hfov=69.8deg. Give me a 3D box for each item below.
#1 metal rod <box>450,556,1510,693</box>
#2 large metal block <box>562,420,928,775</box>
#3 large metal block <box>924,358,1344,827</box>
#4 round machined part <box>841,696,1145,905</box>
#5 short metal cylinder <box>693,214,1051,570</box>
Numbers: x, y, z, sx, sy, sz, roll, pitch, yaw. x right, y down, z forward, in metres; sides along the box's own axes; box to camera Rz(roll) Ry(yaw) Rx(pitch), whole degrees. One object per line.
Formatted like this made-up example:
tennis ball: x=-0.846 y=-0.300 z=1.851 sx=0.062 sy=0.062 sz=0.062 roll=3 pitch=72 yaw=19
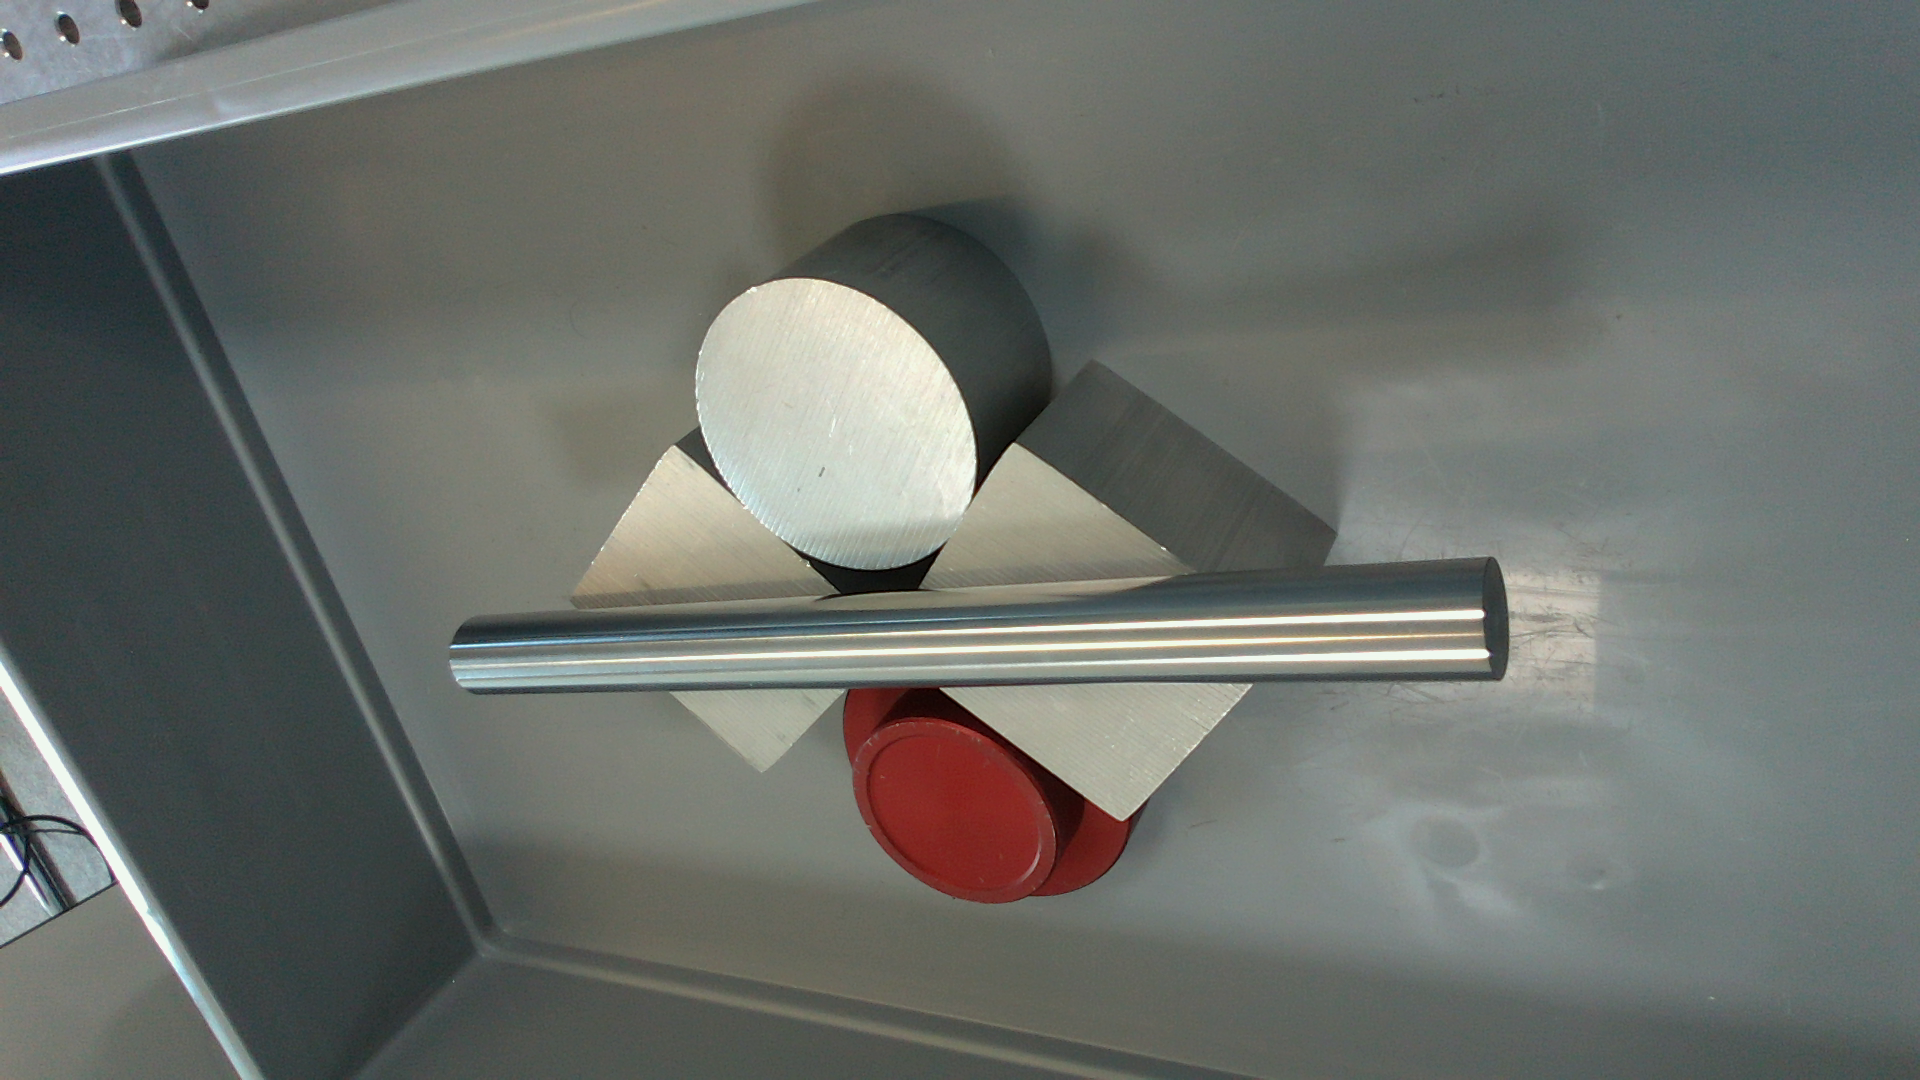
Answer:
metal rod: x=-0.020 y=0.026 z=0.351 sx=0.299 sy=0.025 sz=0.025 roll=-5 pitch=116 yaw=31
large metal block: x=-0.060 y=0.011 z=0.413 sx=0.080 sy=0.050 sz=0.080 roll=42 pitch=129 yaw=-3
large metal block: x=0.039 y=0.014 z=0.360 sx=0.080 sy=0.050 sz=0.080 roll=36 pitch=130 yaw=4
round machined part: x=0.006 y=0.072 z=0.421 sx=0.098 sy=0.042 sz=0.098 roll=13 pitch=124 yaw=21
short metal cylinder: x=-0.022 y=-0.039 z=0.363 sx=0.080 sy=0.050 sz=0.080 roll=13 pitch=124 yaw=21
